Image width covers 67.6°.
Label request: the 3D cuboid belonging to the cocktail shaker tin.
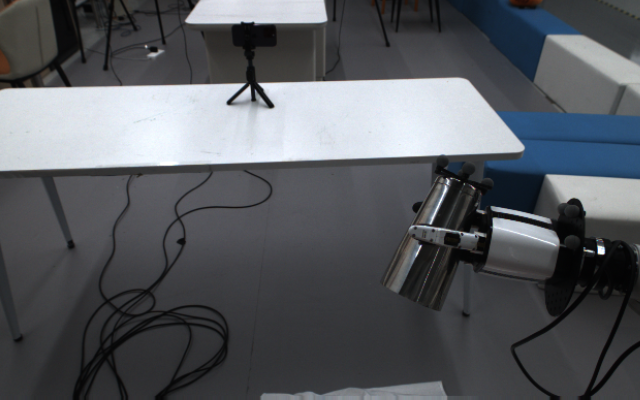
[{"bbox_3d":[0.162,0.054,0.674,0.093,0.170,0.093,23,0,0],"label":"cocktail shaker tin"}]
